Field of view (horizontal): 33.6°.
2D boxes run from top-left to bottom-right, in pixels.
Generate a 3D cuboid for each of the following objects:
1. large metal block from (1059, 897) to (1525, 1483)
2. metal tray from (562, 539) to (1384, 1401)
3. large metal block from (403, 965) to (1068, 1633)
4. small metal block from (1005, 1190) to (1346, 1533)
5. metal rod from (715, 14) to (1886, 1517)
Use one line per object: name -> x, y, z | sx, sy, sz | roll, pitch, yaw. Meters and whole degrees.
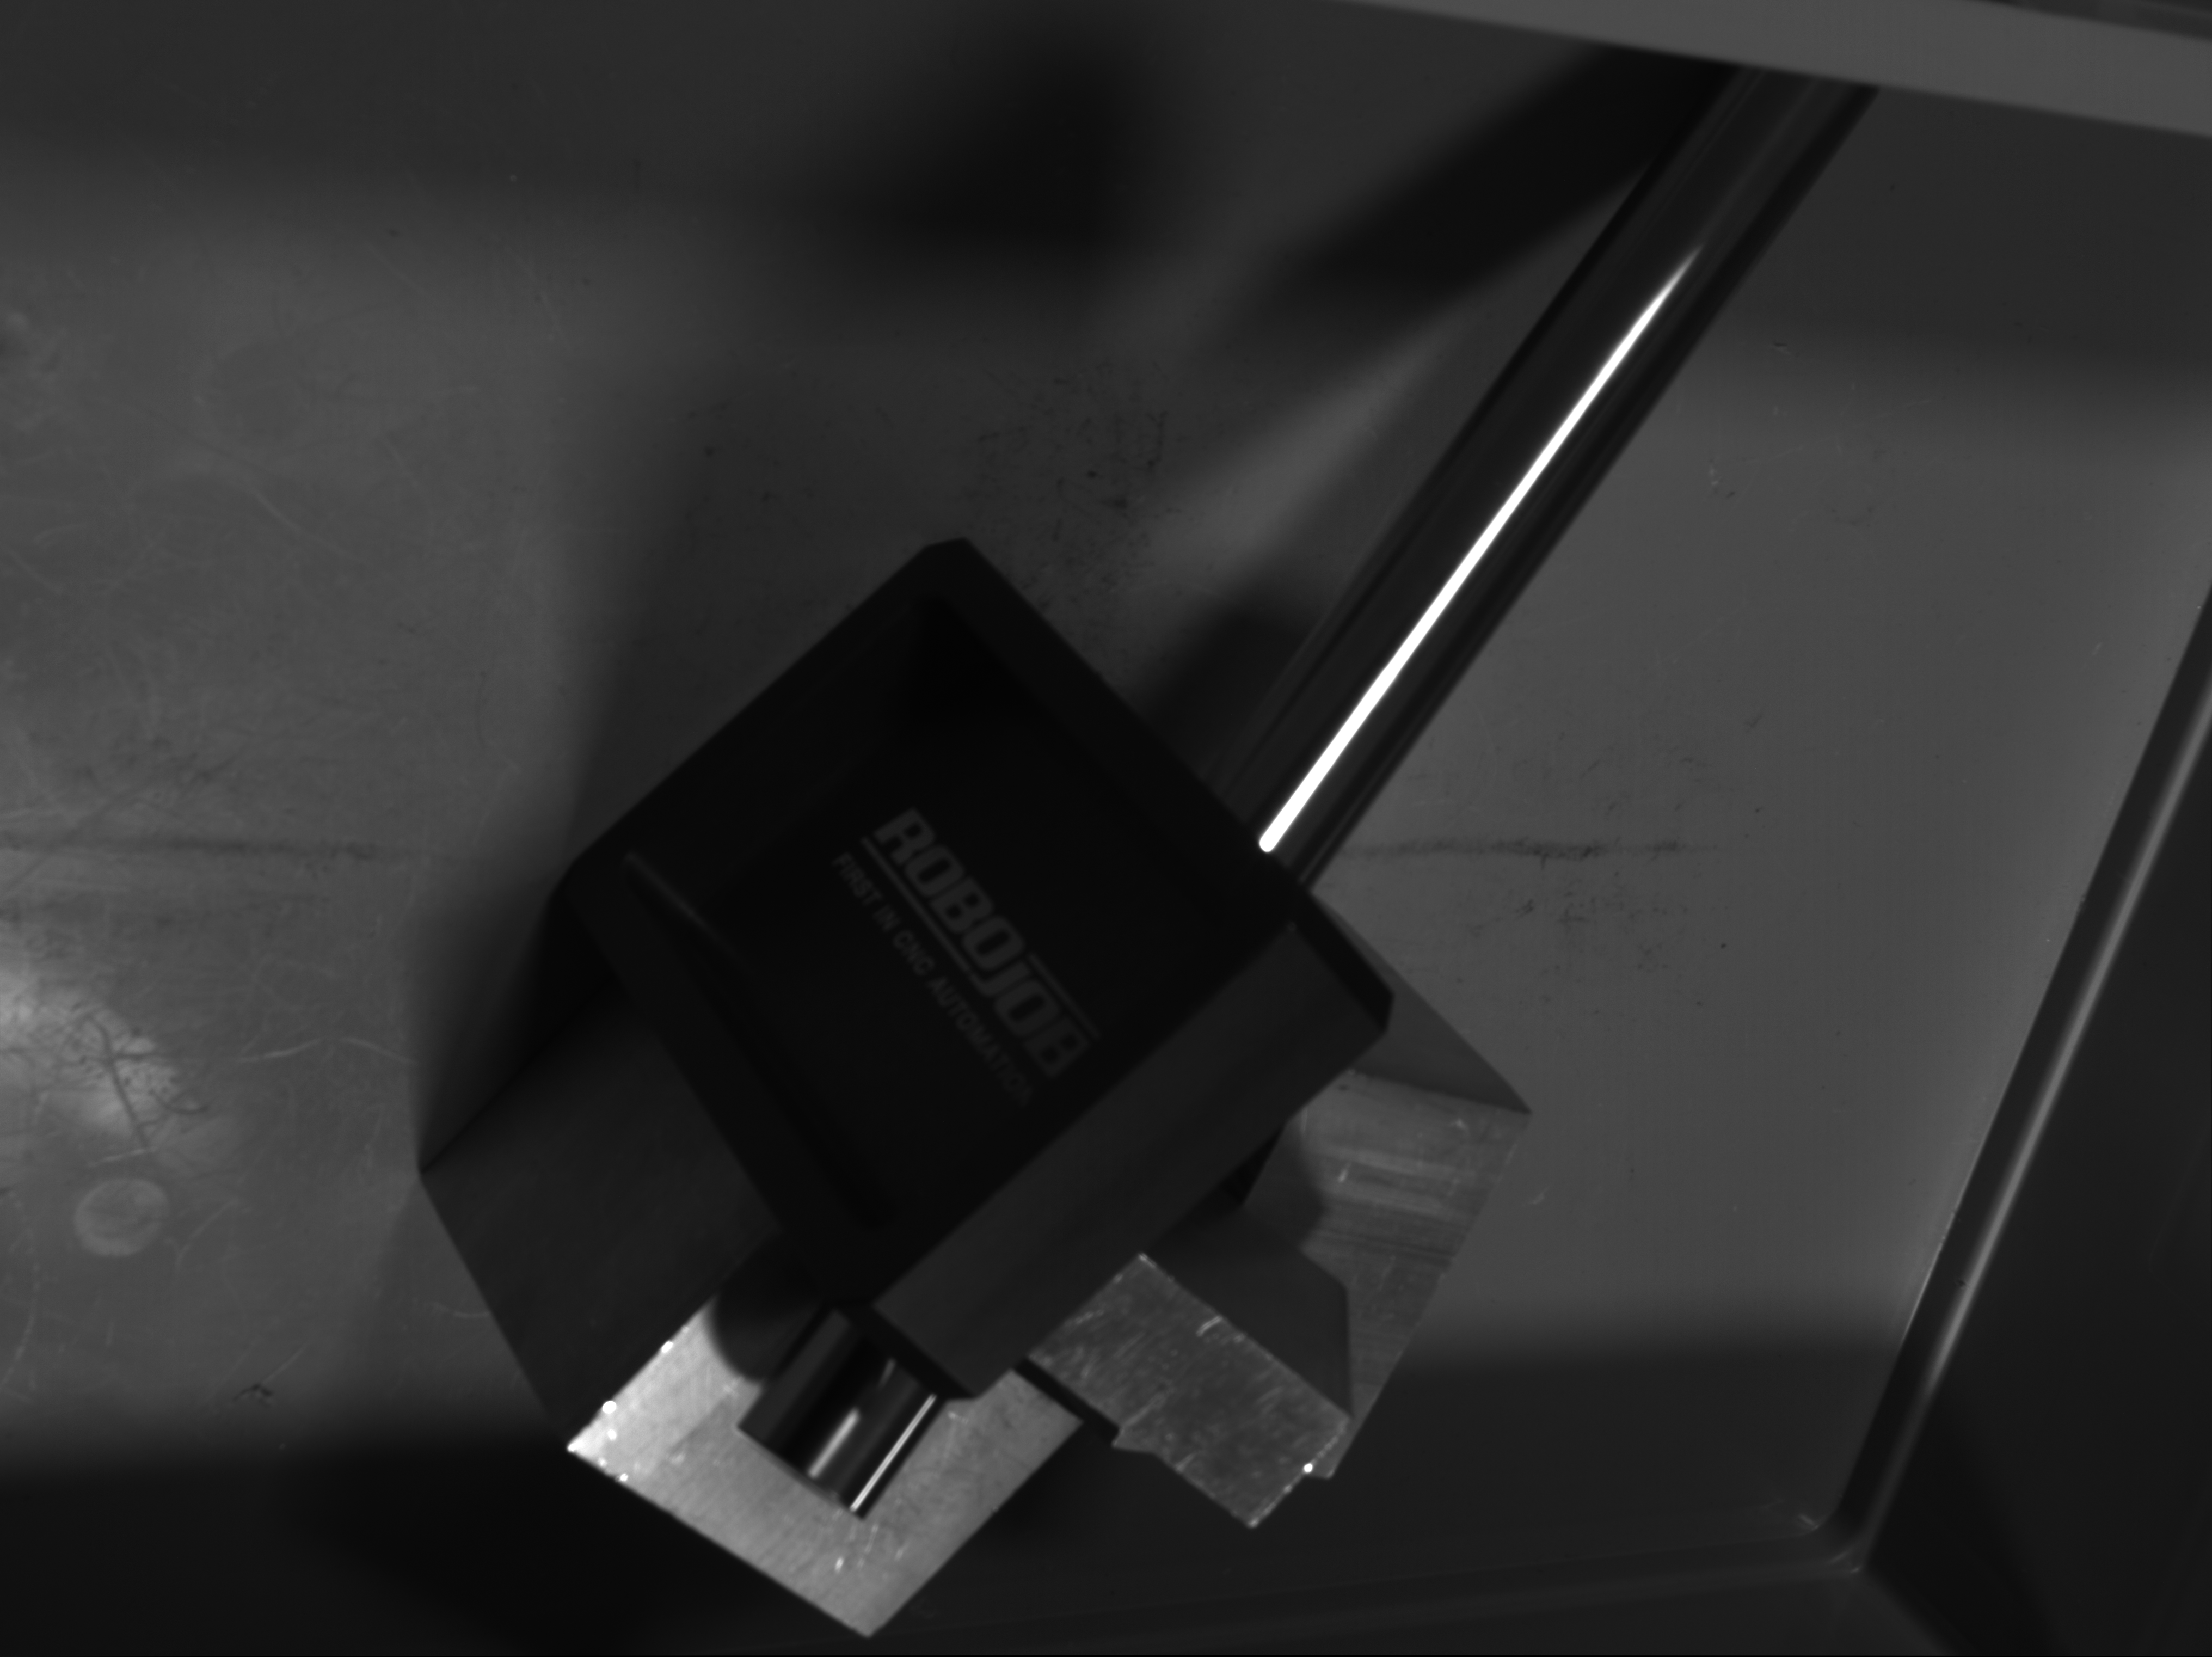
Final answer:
large metal block -> 0.018, 0.059, 0.662 | 0.050, 0.080, 0.080 | 15, 110, -36
metal tray -> -0.025, 0.018, 0.577 | 0.090, 0.130, 0.030 | -42, 129, 0
large metal block -> -0.064, 0.079, 0.627 | 0.050, 0.080, 0.080 | -45, 130, 2
small metal block -> 0.011, 0.079, 0.592 | 0.050, 0.050, 0.025 | 39, 105, -9
metal rod -> 0.037, -0.017, 0.602 | 0.300, 0.025, 0.025 | -53, 132, -14
